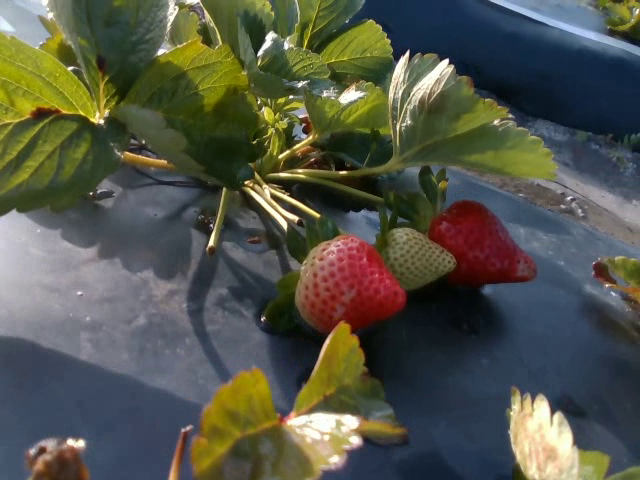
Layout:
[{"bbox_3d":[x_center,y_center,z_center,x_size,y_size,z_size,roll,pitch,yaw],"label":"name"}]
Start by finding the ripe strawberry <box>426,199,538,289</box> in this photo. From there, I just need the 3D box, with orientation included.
[{"bbox_3d":[0.083,0.005,0.311,0.064,0.049,0.050,38,-14,20],"label":"ripe strawberry"}]
